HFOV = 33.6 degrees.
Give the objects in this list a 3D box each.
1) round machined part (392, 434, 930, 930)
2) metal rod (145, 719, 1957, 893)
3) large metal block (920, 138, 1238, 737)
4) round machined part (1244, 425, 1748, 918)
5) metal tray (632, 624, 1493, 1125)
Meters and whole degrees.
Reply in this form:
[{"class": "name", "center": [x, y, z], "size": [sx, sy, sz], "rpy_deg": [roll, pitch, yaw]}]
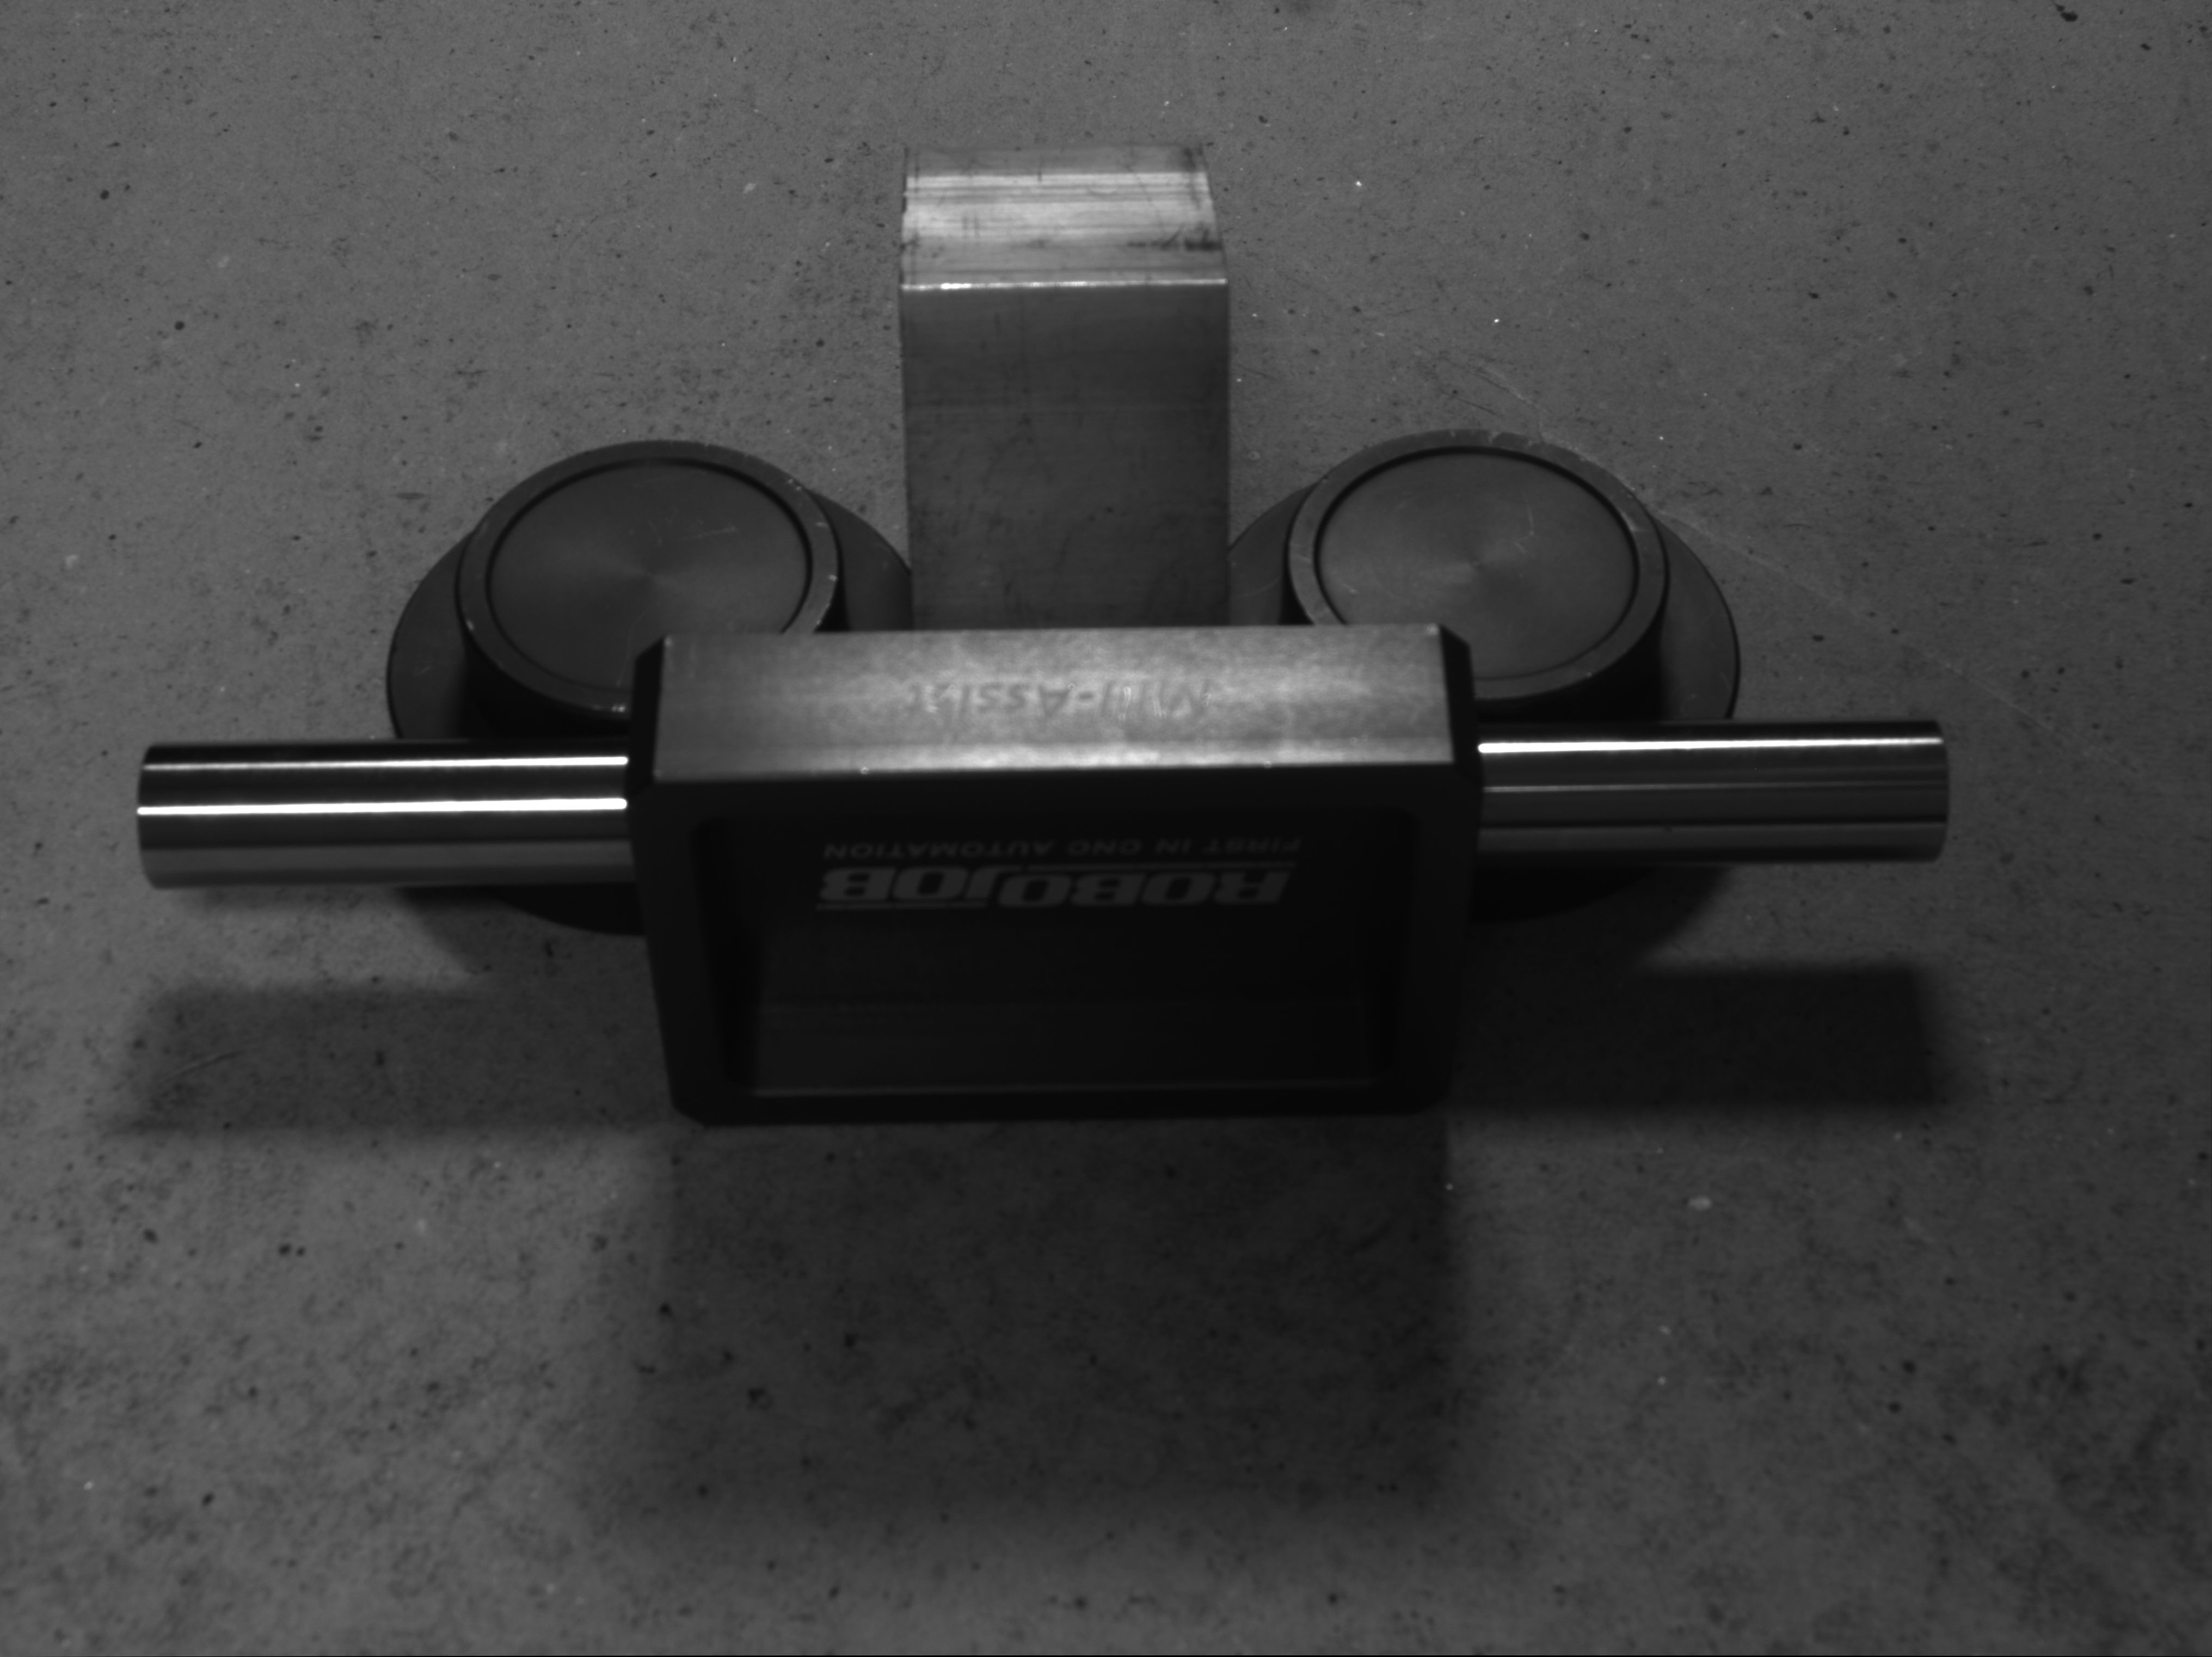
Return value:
[{"class": "round machined part", "center": [-0.079, -0.032, 0.656], "size": [0.098, 0.042, 0.098], "rpy_deg": [0, 50, 0]}, {"class": "metal rod", "center": [-0.009, -0.004, 0.619], "size": [0.300, 0.025, 0.025], "rpy_deg": [-1, 50, -1]}, {"class": "large metal block", "center": [-0.005, -0.068, 0.629], "size": [0.050, 0.080, 0.080], "rpy_deg": [-1, 26, -2]}, {"class": "round machined part", "center": [0.066, -0.035, 0.659], "size": [0.098, 0.042, 0.098], "rpy_deg": [0, 50, 0]}, {"class": "metal tray", "center": [-0.007, 0.009, 0.592], "size": [0.130, 0.090, 0.030], "rpy_deg": [-1, 50, -1]}]
